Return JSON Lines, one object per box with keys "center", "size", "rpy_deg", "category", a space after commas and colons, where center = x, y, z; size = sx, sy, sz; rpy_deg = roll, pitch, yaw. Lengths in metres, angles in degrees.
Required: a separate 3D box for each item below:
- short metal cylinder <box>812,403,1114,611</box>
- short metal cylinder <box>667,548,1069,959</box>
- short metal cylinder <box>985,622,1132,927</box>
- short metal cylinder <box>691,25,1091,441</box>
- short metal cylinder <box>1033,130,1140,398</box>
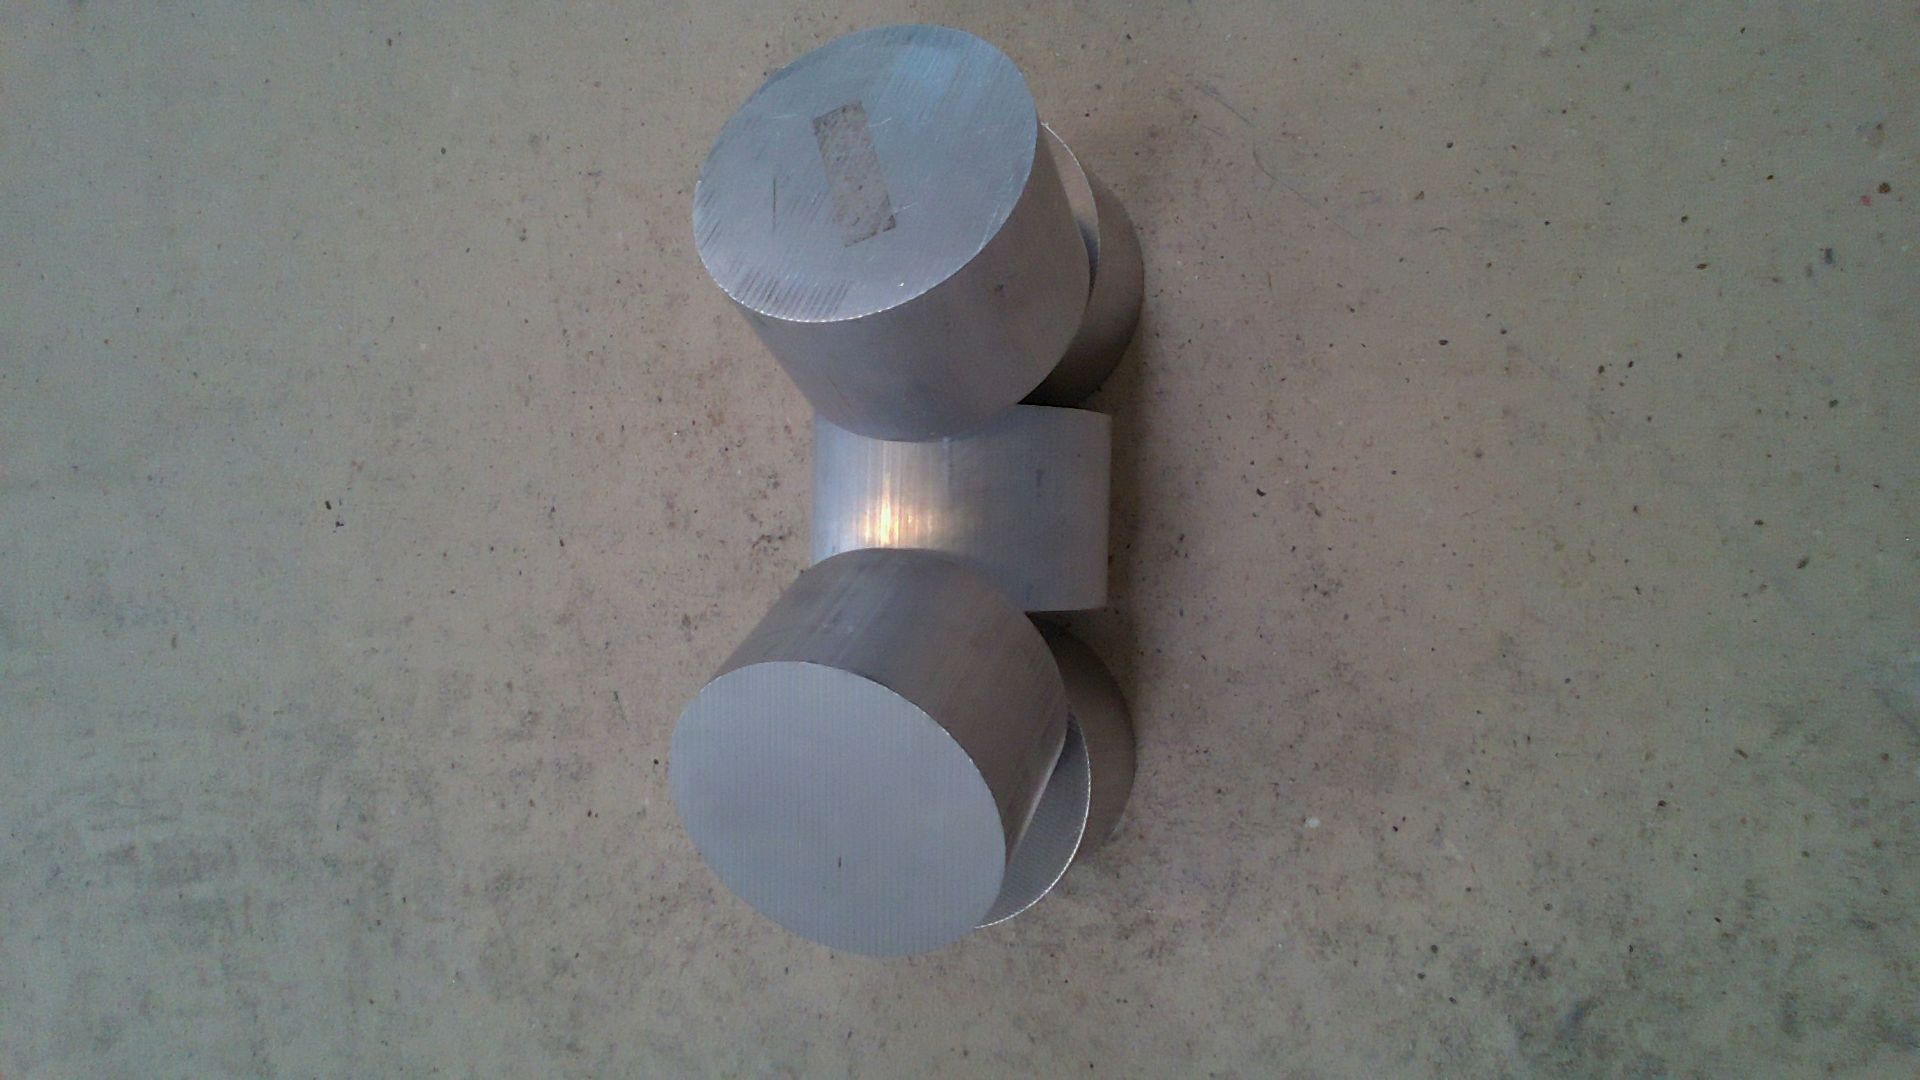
{"center": [0.000, -0.009, 0.367], "size": [0.080, 0.080, 0.050], "rpy_deg": [2, 91, 20], "category": "short metal cylinder"}
{"center": [-0.020, 0.049, 0.319], "size": [0.080, 0.050, 0.080], "rpy_deg": [9, 121, 16], "category": "short metal cylinder"}
{"center": [0.004, 0.061, 0.382], "size": [0.080, 0.050, 0.080], "rpy_deg": [0, 90, 20], "category": "short metal cylinder"}
{"center": [-0.014, -0.070, 0.319], "size": [0.080, 0.050, 0.080], "rpy_deg": [-8, 62, 15], "category": "short metal cylinder"}
{"center": [0.006, -0.074, 0.381], "size": [0.080, 0.050, 0.080], "rpy_deg": [0, 90, 20], "category": "short metal cylinder"}
